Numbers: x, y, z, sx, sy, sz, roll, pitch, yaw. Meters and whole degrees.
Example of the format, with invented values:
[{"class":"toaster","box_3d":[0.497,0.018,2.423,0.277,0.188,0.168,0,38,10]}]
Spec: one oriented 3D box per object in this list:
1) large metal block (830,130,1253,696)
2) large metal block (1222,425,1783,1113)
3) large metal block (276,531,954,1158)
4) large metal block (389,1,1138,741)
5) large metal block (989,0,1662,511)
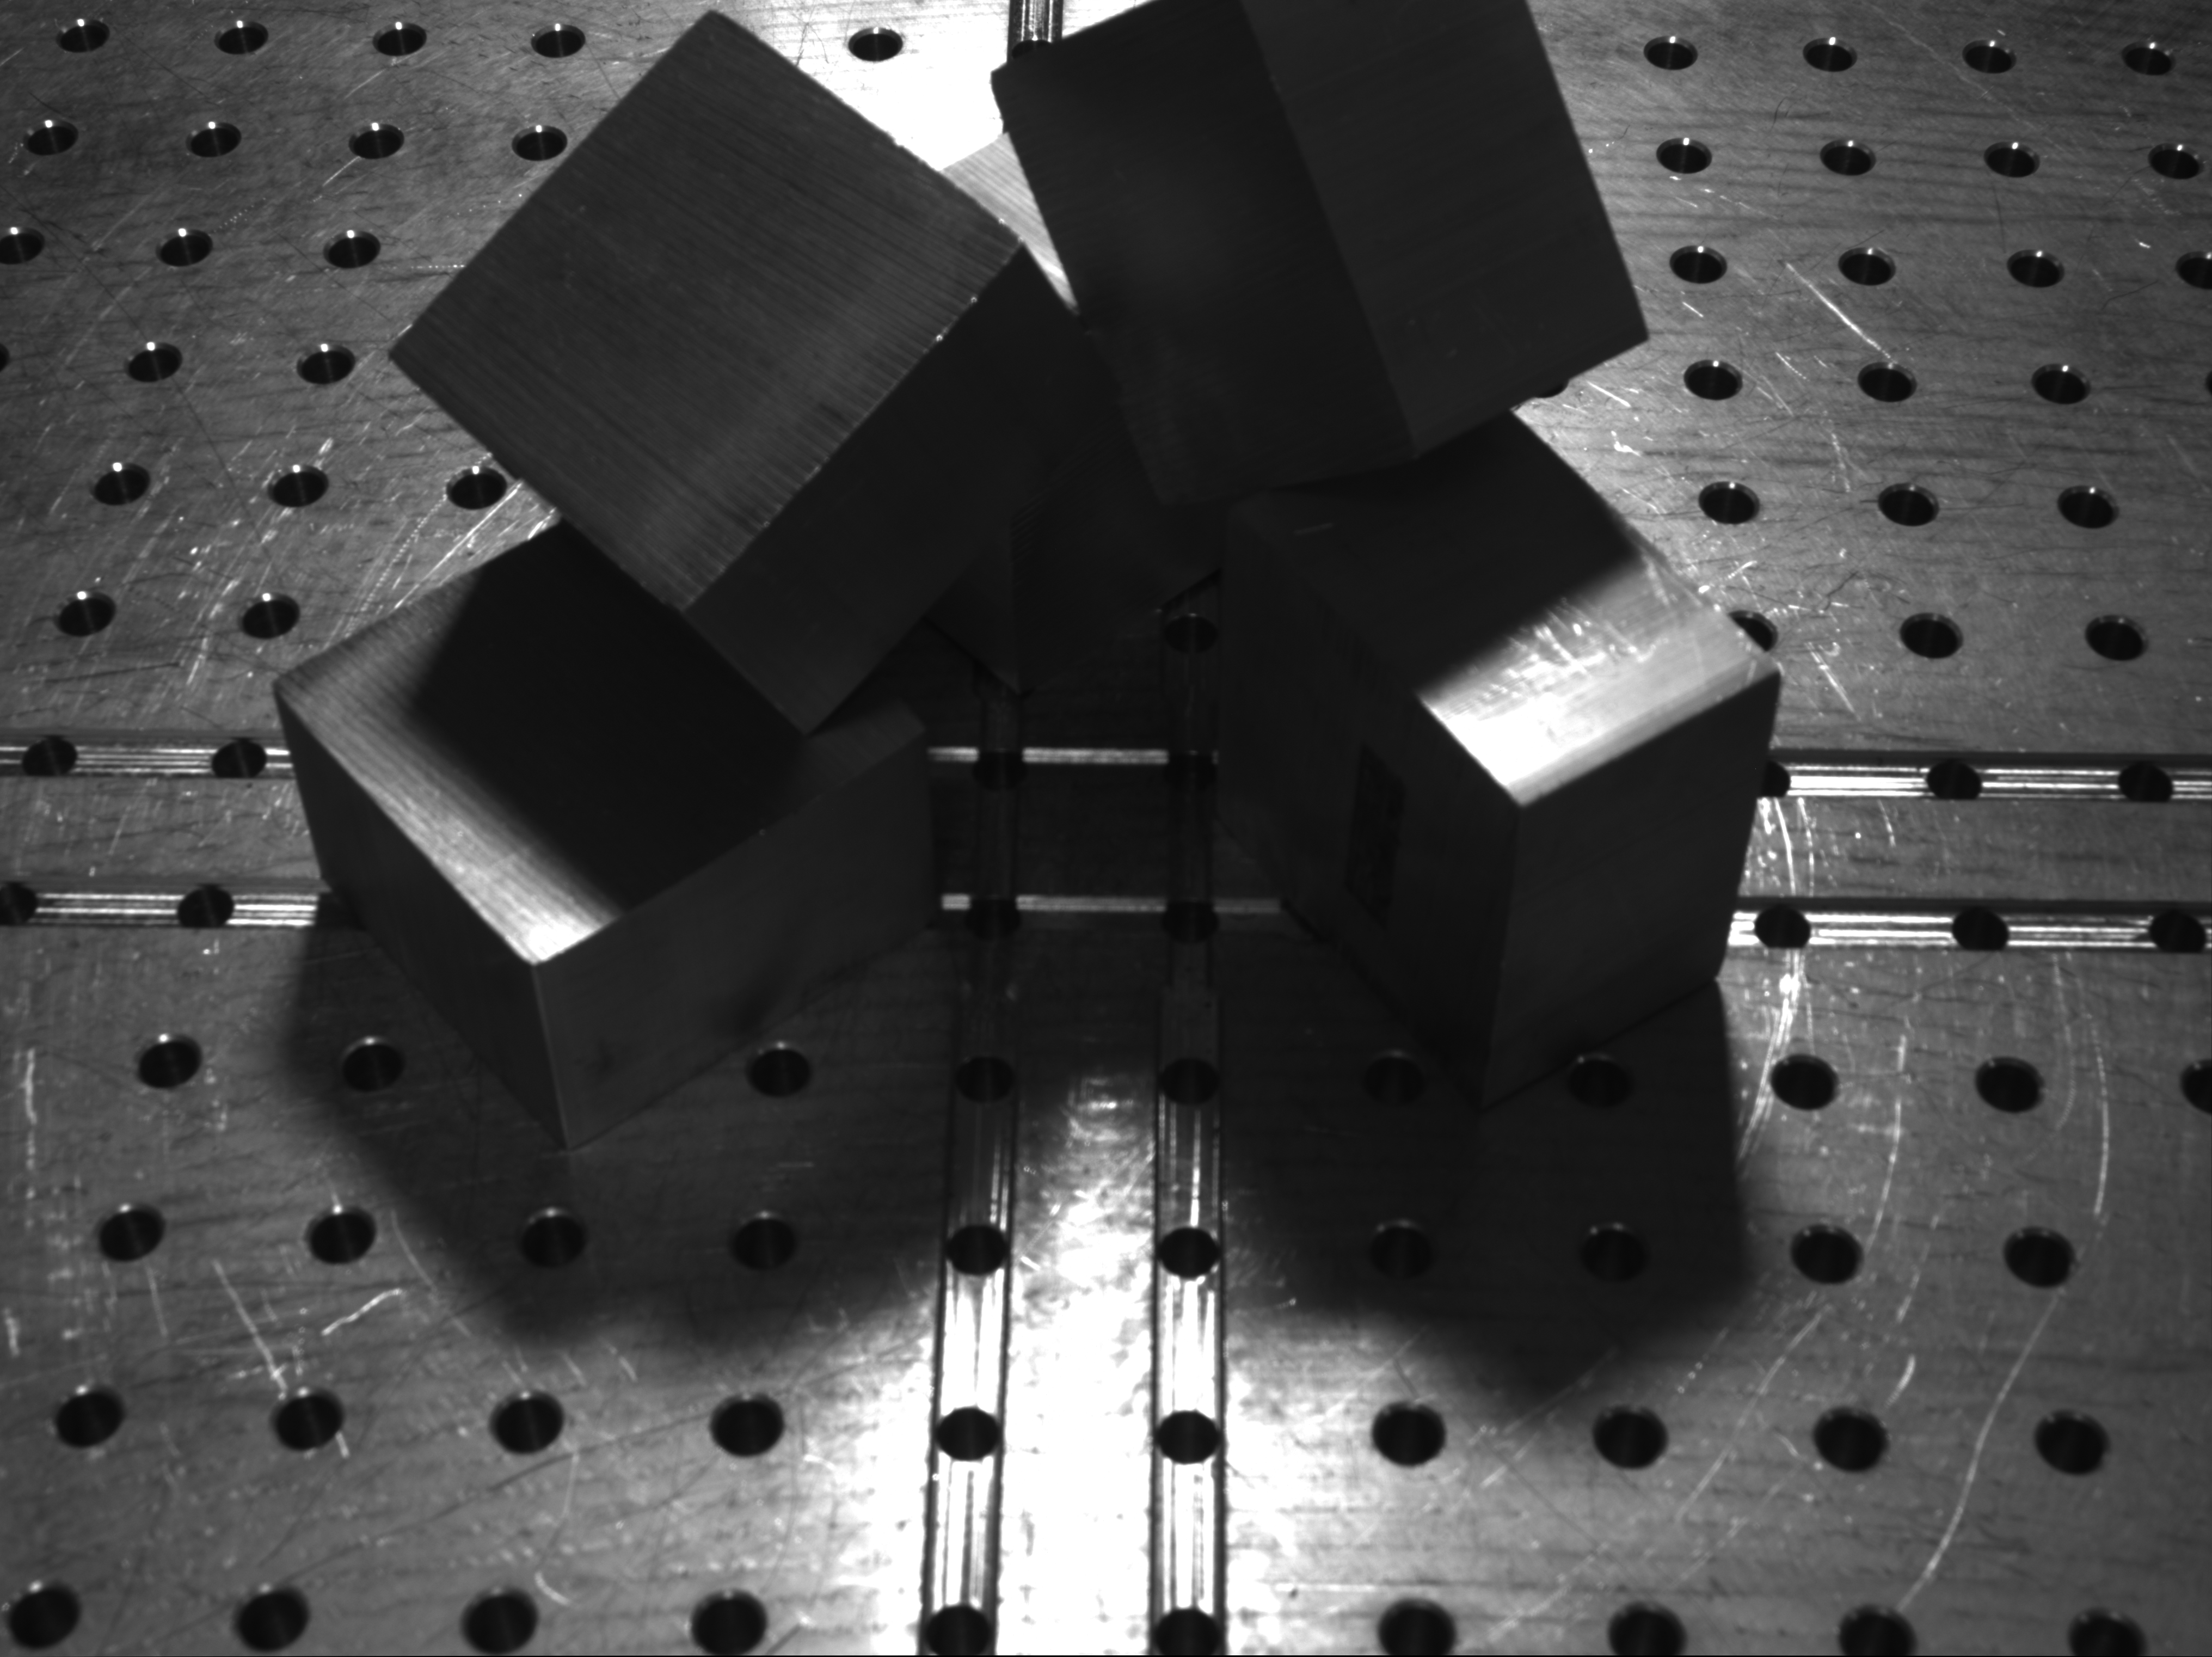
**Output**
[{"class":"large metal block","box_3d":[-0.003,-0.085,0.679,0.080,0.080,0.050,-34,58,-25]},{"class":"large metal block","box_3d":[0.064,-0.014,0.619,0.050,0.080,0.080,-27,55,-21]},{"class":"large metal block","box_3d":[-0.083,-0.004,0.631,0.080,0.050,0.080,-32,57,-24]},{"class":"large metal block","box_3d":[-0.056,-0.076,0.607,0.080,0.050,0.080,40,86,29]},{"class":"large metal block","box_3d":[0.035,-0.103,0.603,0.050,0.080,0.080,-29,13,-27]}]
